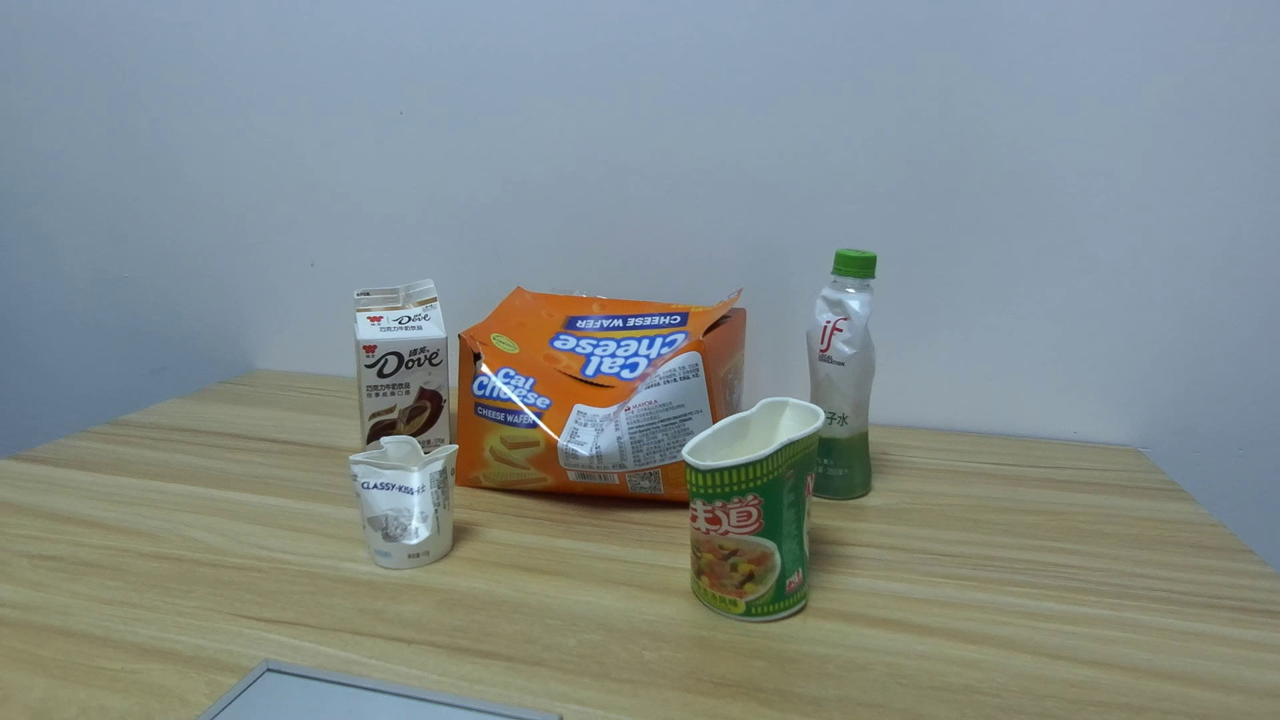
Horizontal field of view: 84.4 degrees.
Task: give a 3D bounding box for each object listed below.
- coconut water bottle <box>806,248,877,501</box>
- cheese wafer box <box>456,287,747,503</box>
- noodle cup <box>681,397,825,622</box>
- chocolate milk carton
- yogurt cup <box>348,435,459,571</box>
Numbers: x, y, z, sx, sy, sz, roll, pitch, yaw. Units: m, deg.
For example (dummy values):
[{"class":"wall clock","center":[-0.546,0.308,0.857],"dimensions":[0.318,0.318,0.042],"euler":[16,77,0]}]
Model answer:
[{"class":"coconut water bottle","center":[0.157,0.011,0.546],"dimensions":[0.067,0.187,0.067],"euler":[2,13,0]},{"class":"cheese wafer box","center":[-0.028,0.022,0.580],"dimensions":[0.218,0.145,0.191],"euler":[4,15,10]},{"class":"noodle cup","center":[0.064,0.085,0.408],"dimensions":[0.115,0.111,0.070],"euler":[-10,19,-32]},{"class":"chocolate milk carton","center":[-0.212,0.005,0.628],"dimensions":[0.076,0.148,0.074],"euler":[-5,15,-23]},{"class":"yogurt cup","center":[-0.150,0.090,0.459],"dimensions":[0.054,0.072,0.055],"euler":[6,14,19]}]
